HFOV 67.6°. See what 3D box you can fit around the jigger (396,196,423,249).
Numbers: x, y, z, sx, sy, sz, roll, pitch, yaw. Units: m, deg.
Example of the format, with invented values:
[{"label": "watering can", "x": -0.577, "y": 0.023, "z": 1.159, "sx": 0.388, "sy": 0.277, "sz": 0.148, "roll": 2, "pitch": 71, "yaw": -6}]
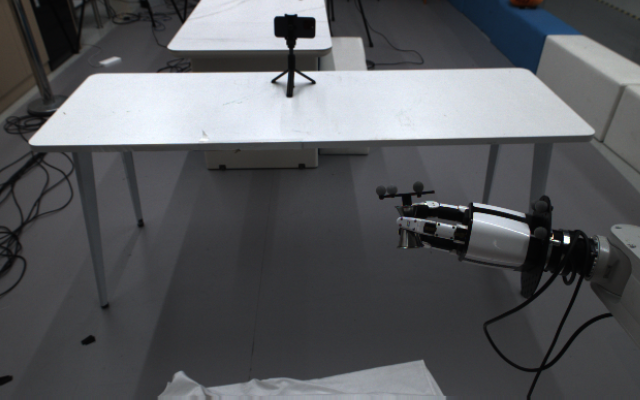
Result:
[{"label": "jigger", "x": 0.142, "y": 0.041, "z": 0.778, "sx": 0.043, "sy": 0.071, "sz": 0.043, "roll": -4, "pitch": 1, "yaw": 0}]
